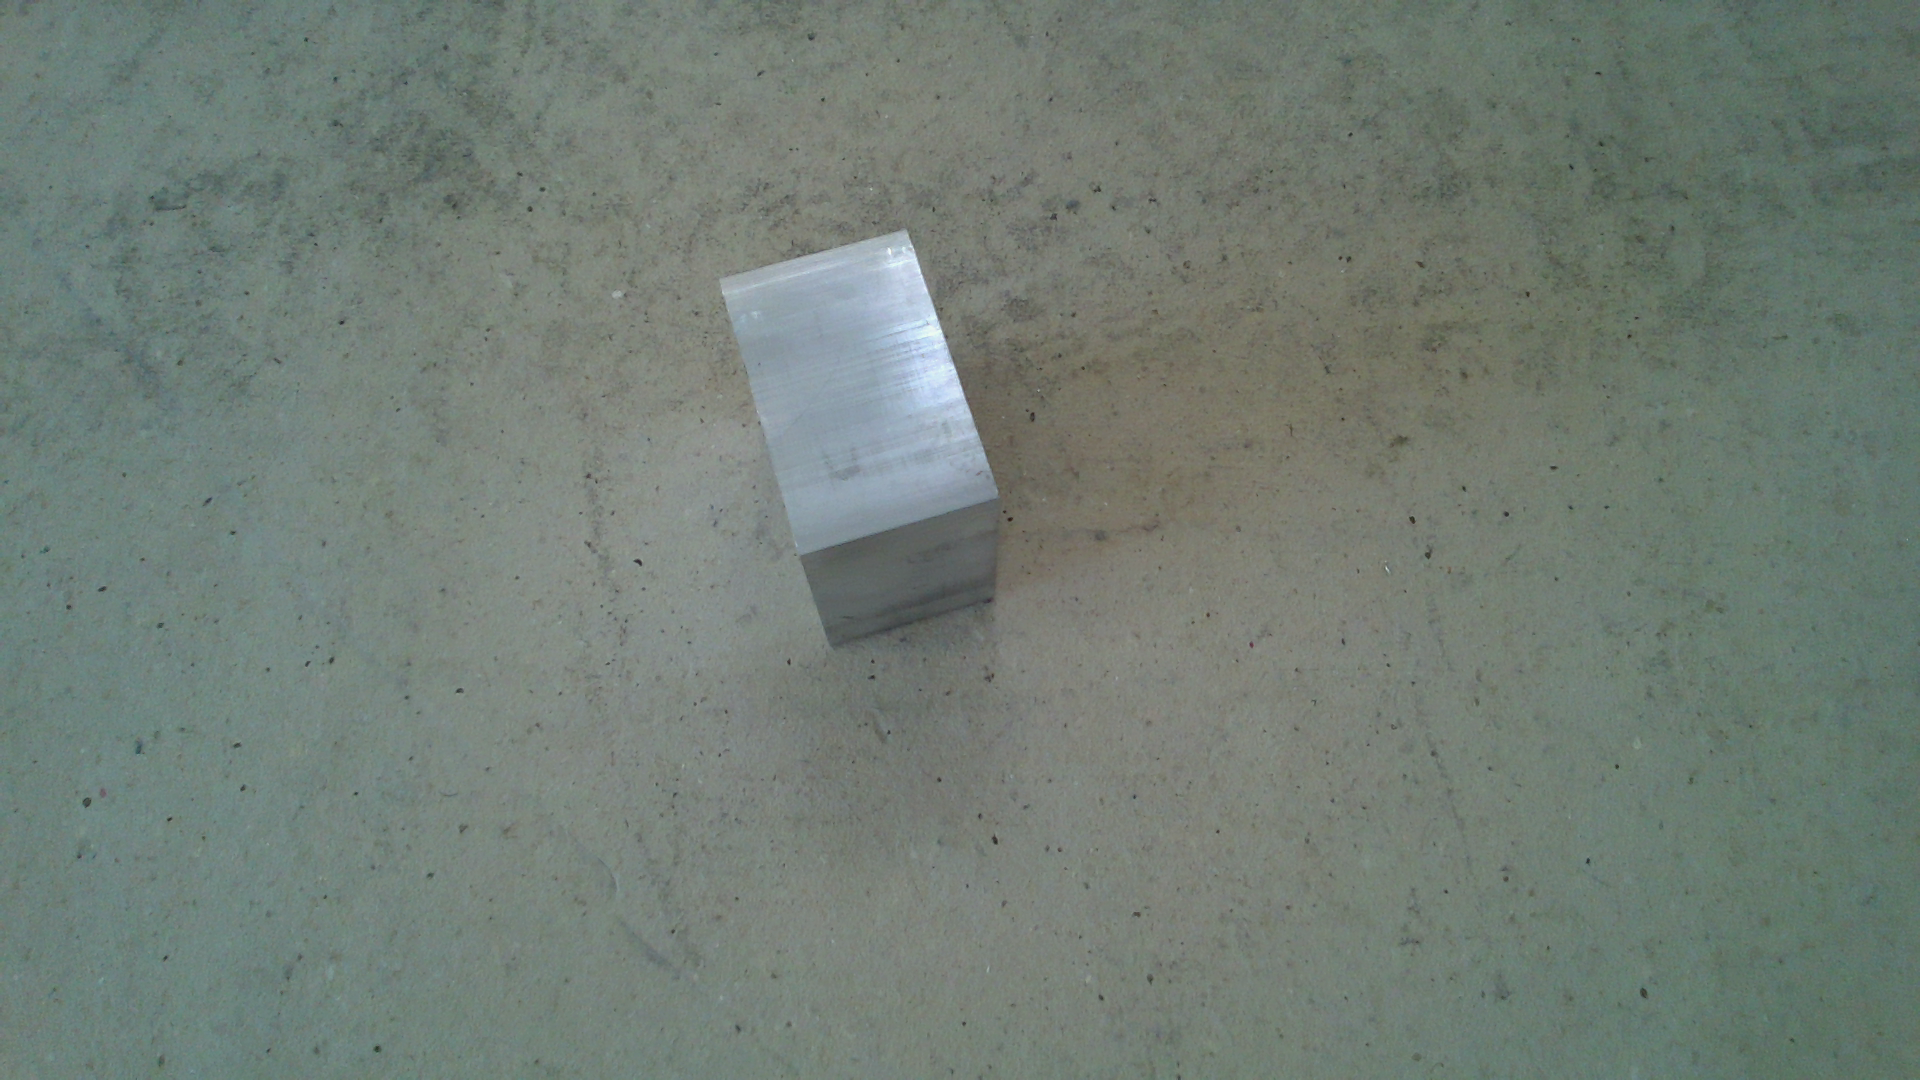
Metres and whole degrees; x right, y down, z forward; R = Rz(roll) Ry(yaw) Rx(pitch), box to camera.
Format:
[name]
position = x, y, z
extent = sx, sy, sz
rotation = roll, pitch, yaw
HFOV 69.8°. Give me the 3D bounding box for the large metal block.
[large metal block]
position = -0.026, -0.025, 0.374
extent = 0.050, 0.080, 0.080
rotation = -16, 71, -6
